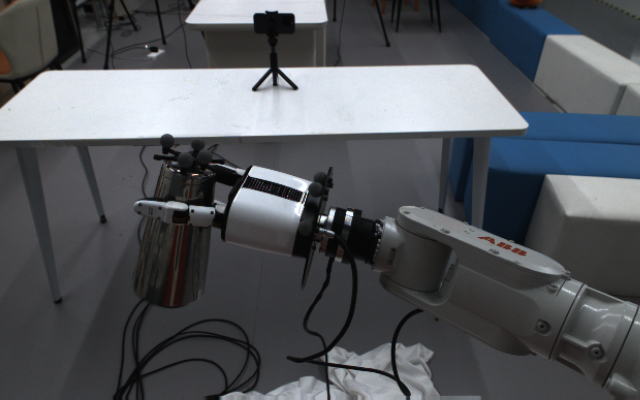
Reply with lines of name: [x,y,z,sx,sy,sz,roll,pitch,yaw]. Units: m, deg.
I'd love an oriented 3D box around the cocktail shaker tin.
cocktail shaker tin: [-0.178,0.034,0.616,0.093,0.170,0.093,14,19,-5]
